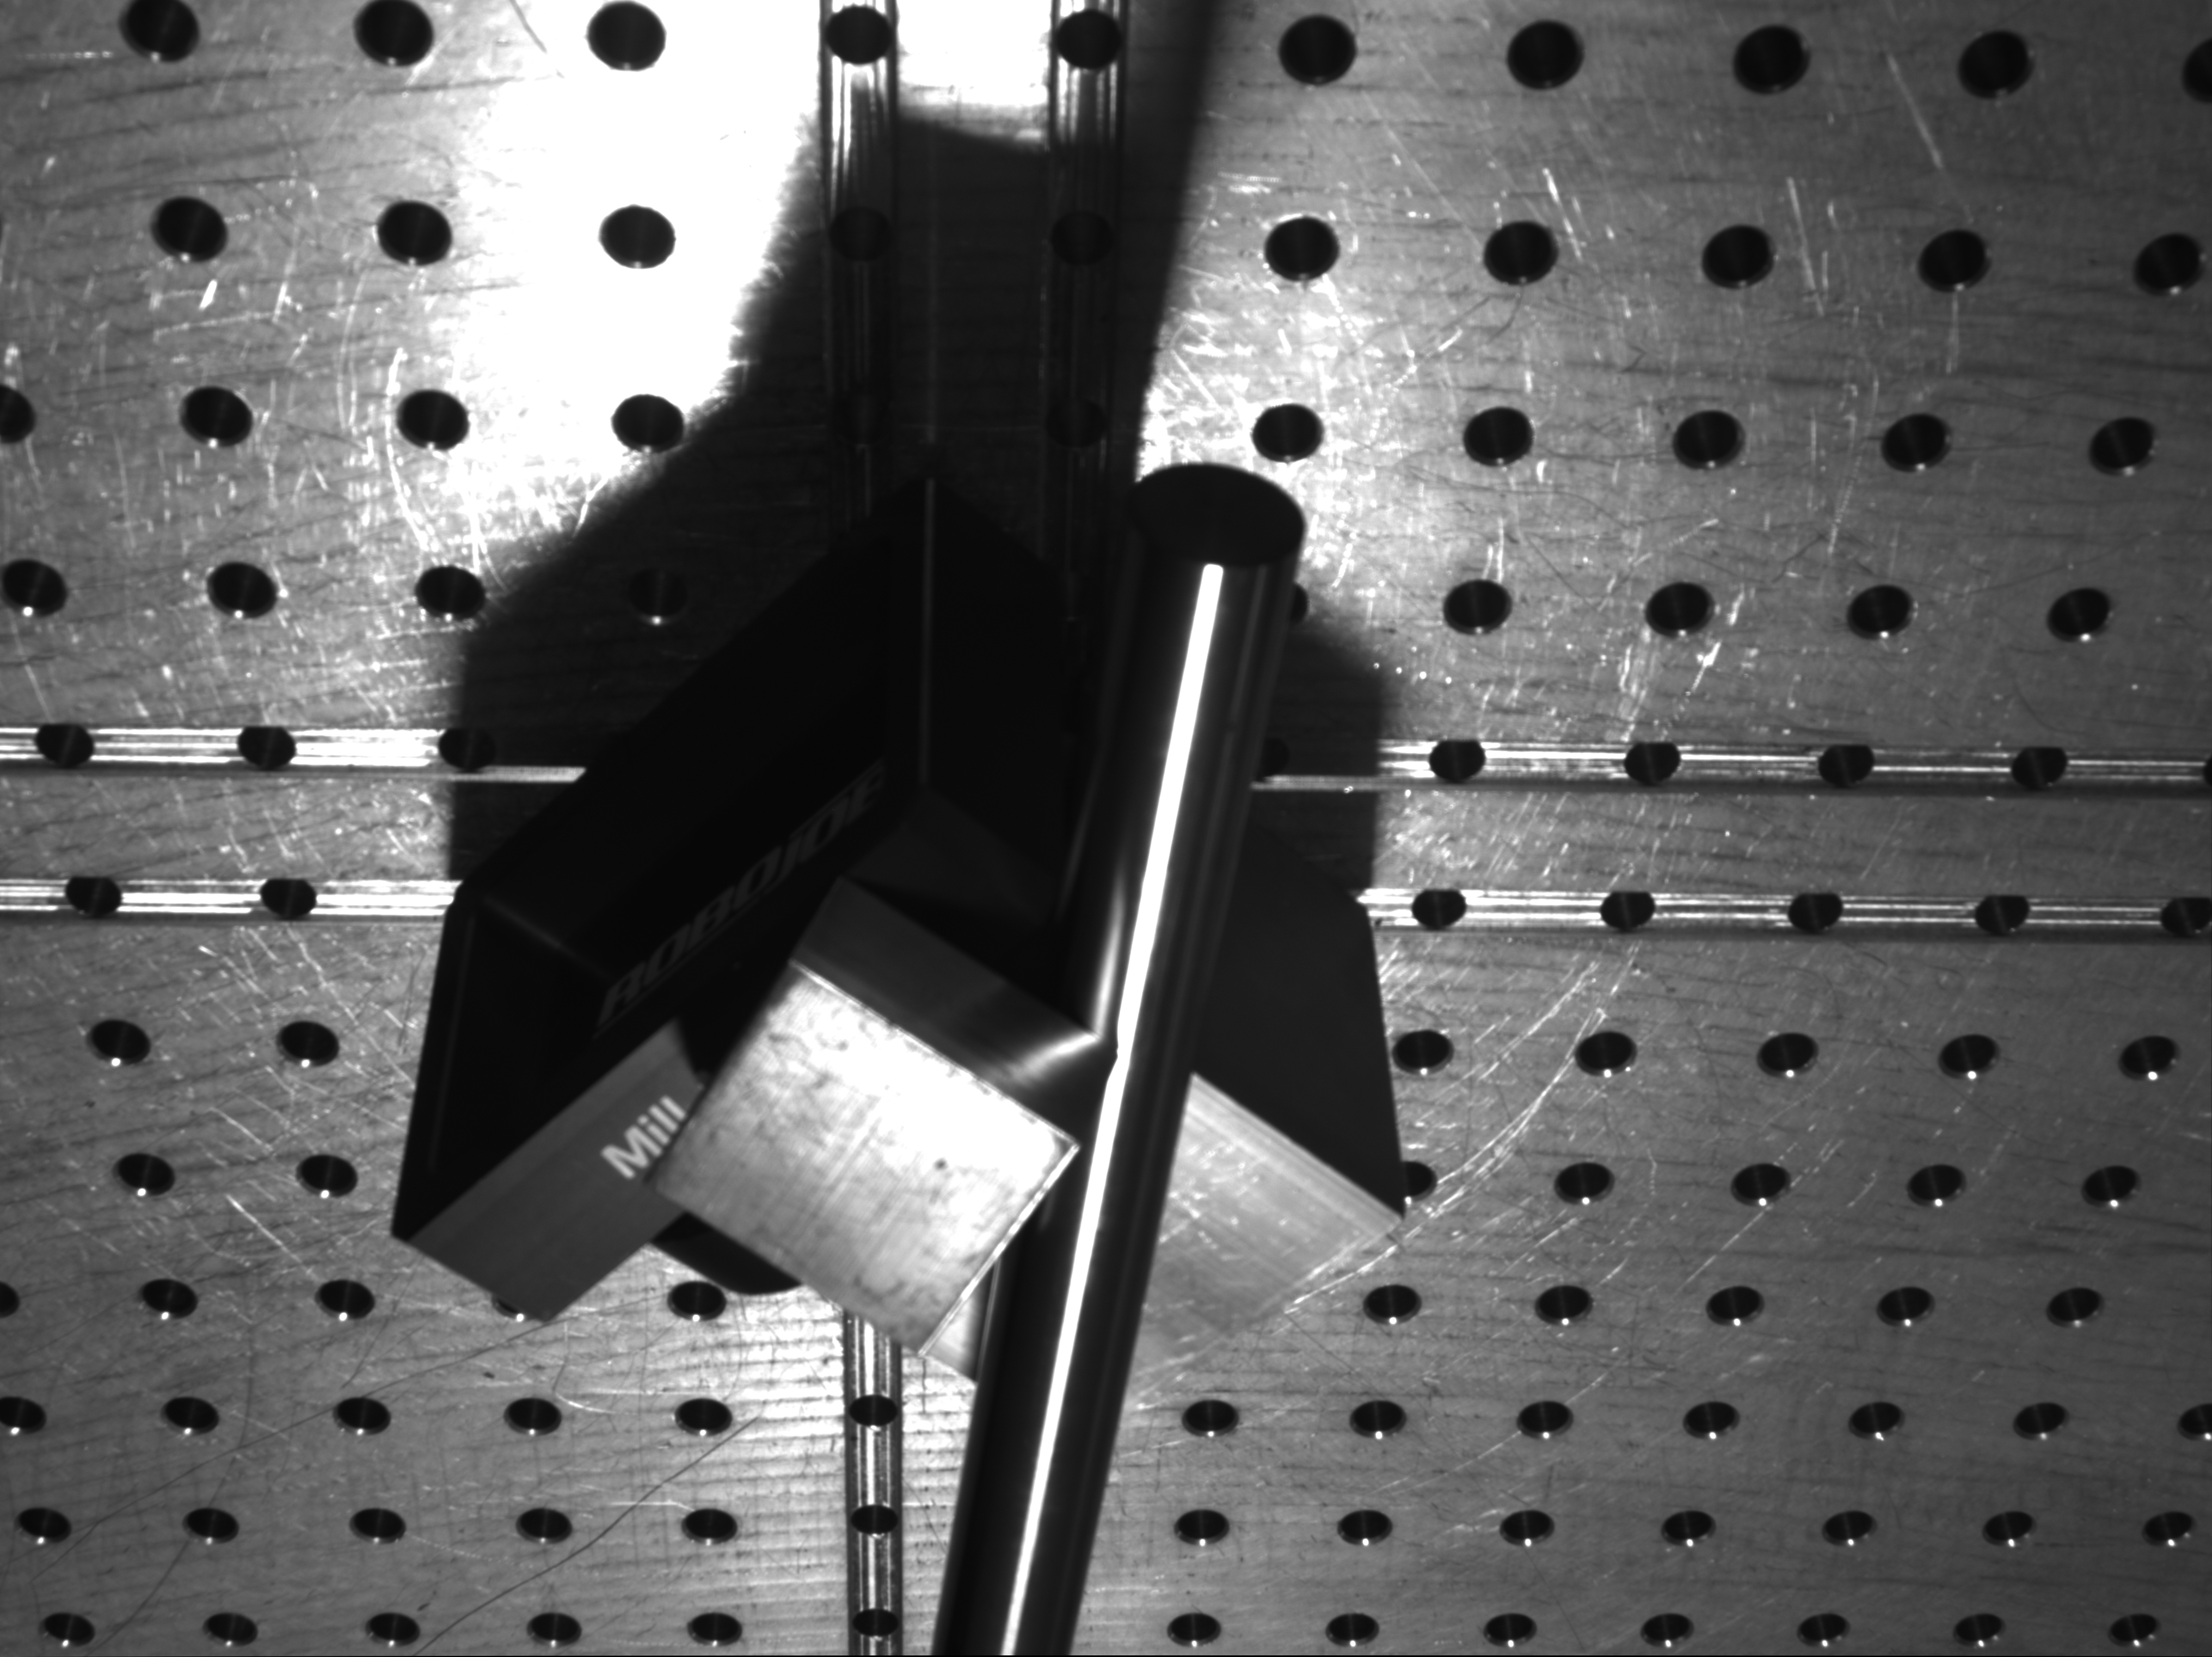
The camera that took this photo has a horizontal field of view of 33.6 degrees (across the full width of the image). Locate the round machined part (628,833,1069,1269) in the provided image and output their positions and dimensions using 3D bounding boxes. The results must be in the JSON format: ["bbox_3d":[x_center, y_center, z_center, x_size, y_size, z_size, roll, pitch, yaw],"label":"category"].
[{"bbox_3d":[-0.038,0.032,0.624,0.042,0.098,0.098,35,121,-27],"label":"round machined part"}]

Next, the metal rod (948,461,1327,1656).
[{"bbox_3d":[-0.002,0.071,0.596,0.025,0.025,0.300,5,130,-6],"label":"metal rod"}]

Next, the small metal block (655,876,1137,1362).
[{"bbox_3d":[-0.032,0.044,0.550,0.050,0.025,0.050,33,122,-3],"label":"small metal block"}]

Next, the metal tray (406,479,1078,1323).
[{"bbox_3d":[-0.060,0.012,0.607,0.030,0.090,0.130,36,120,-27],"label":"metal tray"}]

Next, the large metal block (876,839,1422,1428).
[{"bbox_3d":[0.006,0.052,0.645,0.050,0.080,0.080,36,120,-27],"label":"large metal block"}]
